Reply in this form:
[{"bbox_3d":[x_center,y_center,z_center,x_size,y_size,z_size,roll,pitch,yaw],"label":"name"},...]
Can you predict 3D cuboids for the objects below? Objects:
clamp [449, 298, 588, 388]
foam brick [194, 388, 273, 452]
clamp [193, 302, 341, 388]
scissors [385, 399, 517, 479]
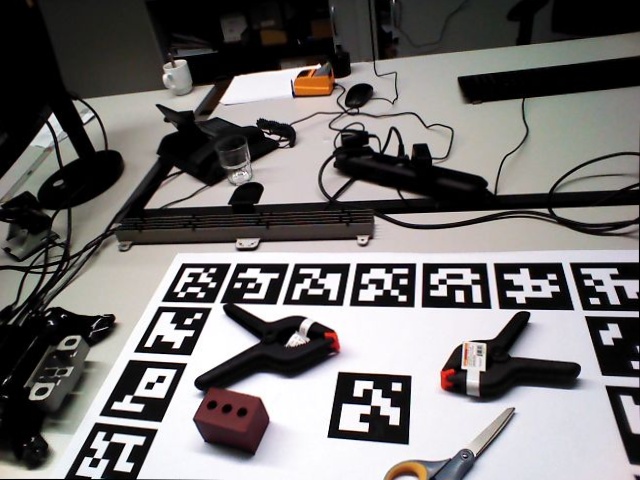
[{"bbox_3d":[0.246,0.148,0.686,0.165,0.037,0.121,-20,46,-8],"label":"clamp"},{"bbox_3d":[-0.110,0.231,0.667,0.078,0.051,0.052,0,42,23],"label":"foam brick"},{"bbox_3d":[-0.071,0.147,0.767,0.203,0.037,0.164,-3,36,10],"label":"clamp"},{"bbox_3d":[0.163,0.245,0.594,0.201,0.016,0.088,-34,51,-26],"label":"scissors"}]
